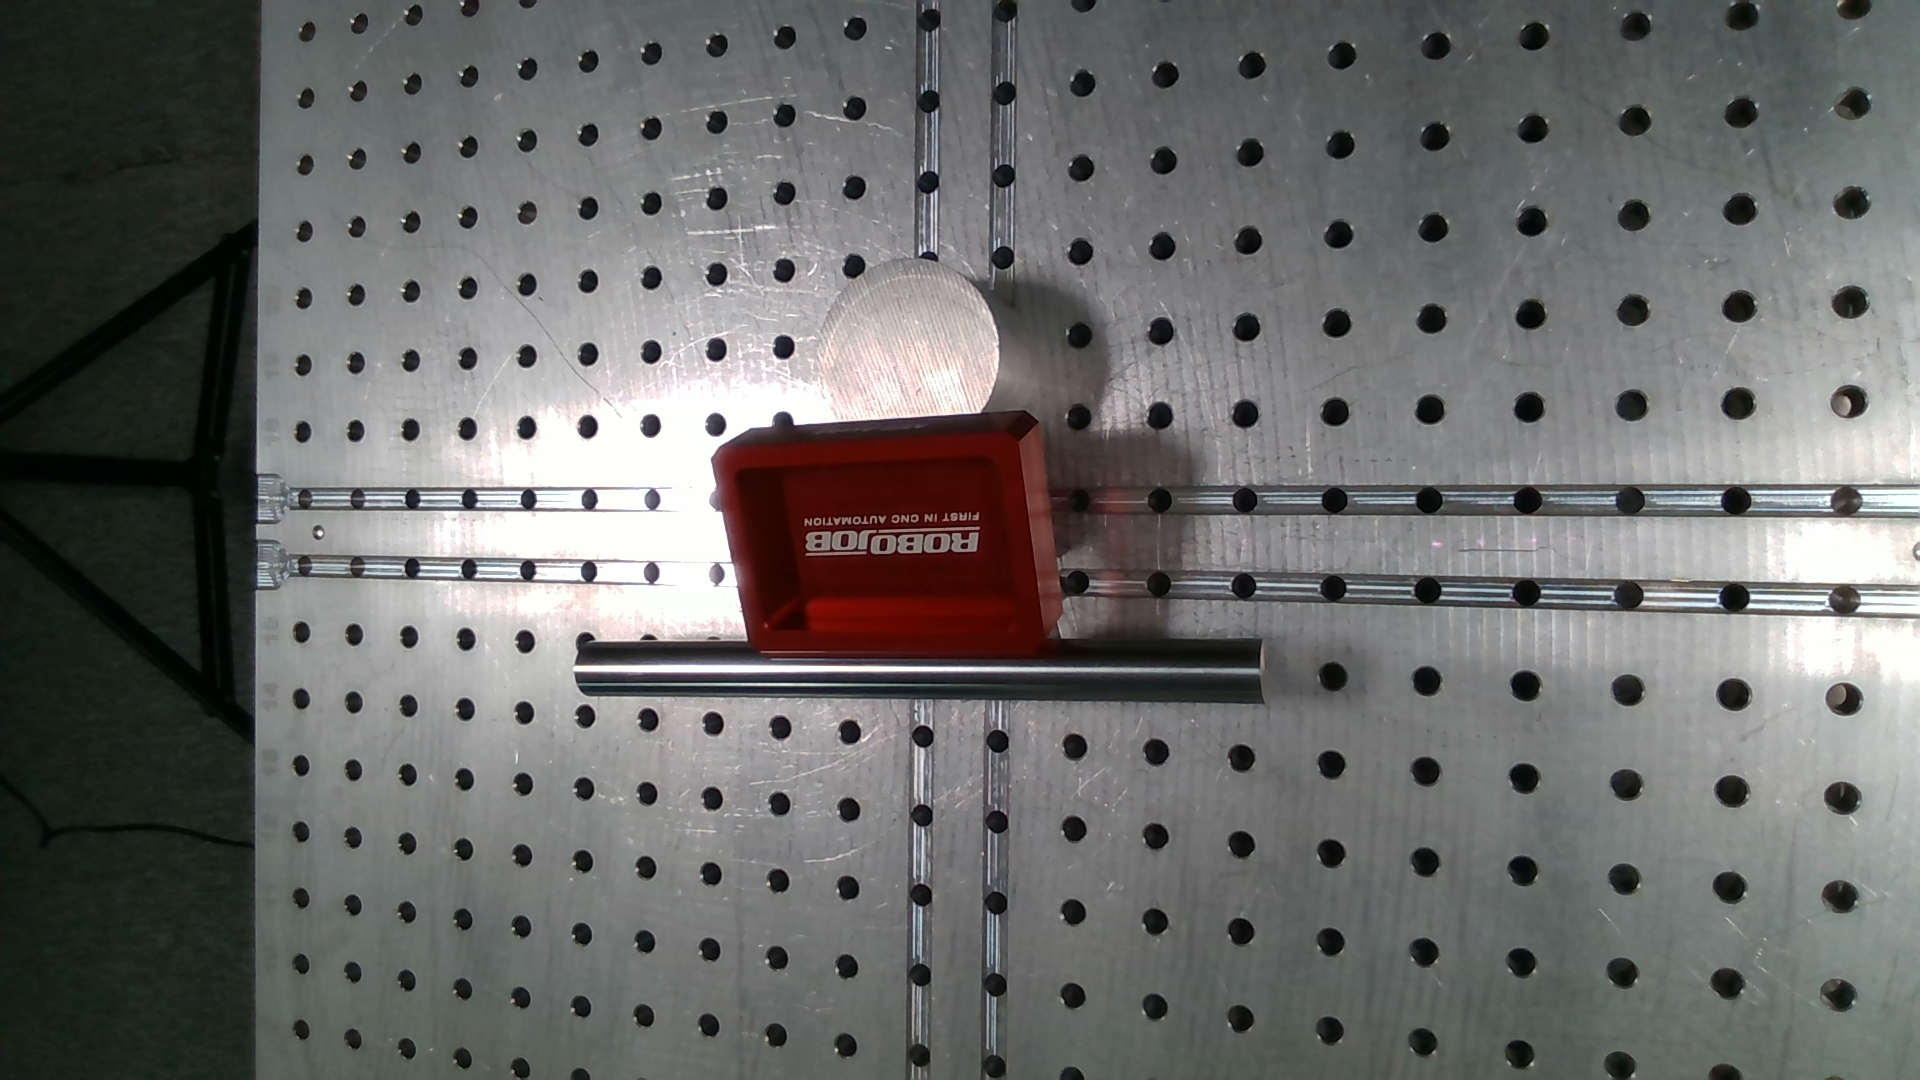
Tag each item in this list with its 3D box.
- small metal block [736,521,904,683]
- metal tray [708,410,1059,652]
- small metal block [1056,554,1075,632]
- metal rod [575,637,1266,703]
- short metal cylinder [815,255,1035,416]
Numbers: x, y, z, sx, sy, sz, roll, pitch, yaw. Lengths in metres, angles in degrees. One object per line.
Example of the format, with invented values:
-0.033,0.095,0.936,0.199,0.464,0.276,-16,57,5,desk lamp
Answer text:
-0.062,0.027,0.610,0.050,0.025,0.050,41,103,15,small metal block
-0.030,-0.002,0.554,0.130,0.030,0.090,-2,109,20,metal tray
0.021,0.037,0.581,0.050,0.025,0.050,-16,85,20,small metal block
-0.026,0.053,0.571,0.300,0.025,0.025,-2,90,20,metal rod
-0.014,-0.075,0.578,0.080,0.050,0.080,0,90,20,short metal cylinder
